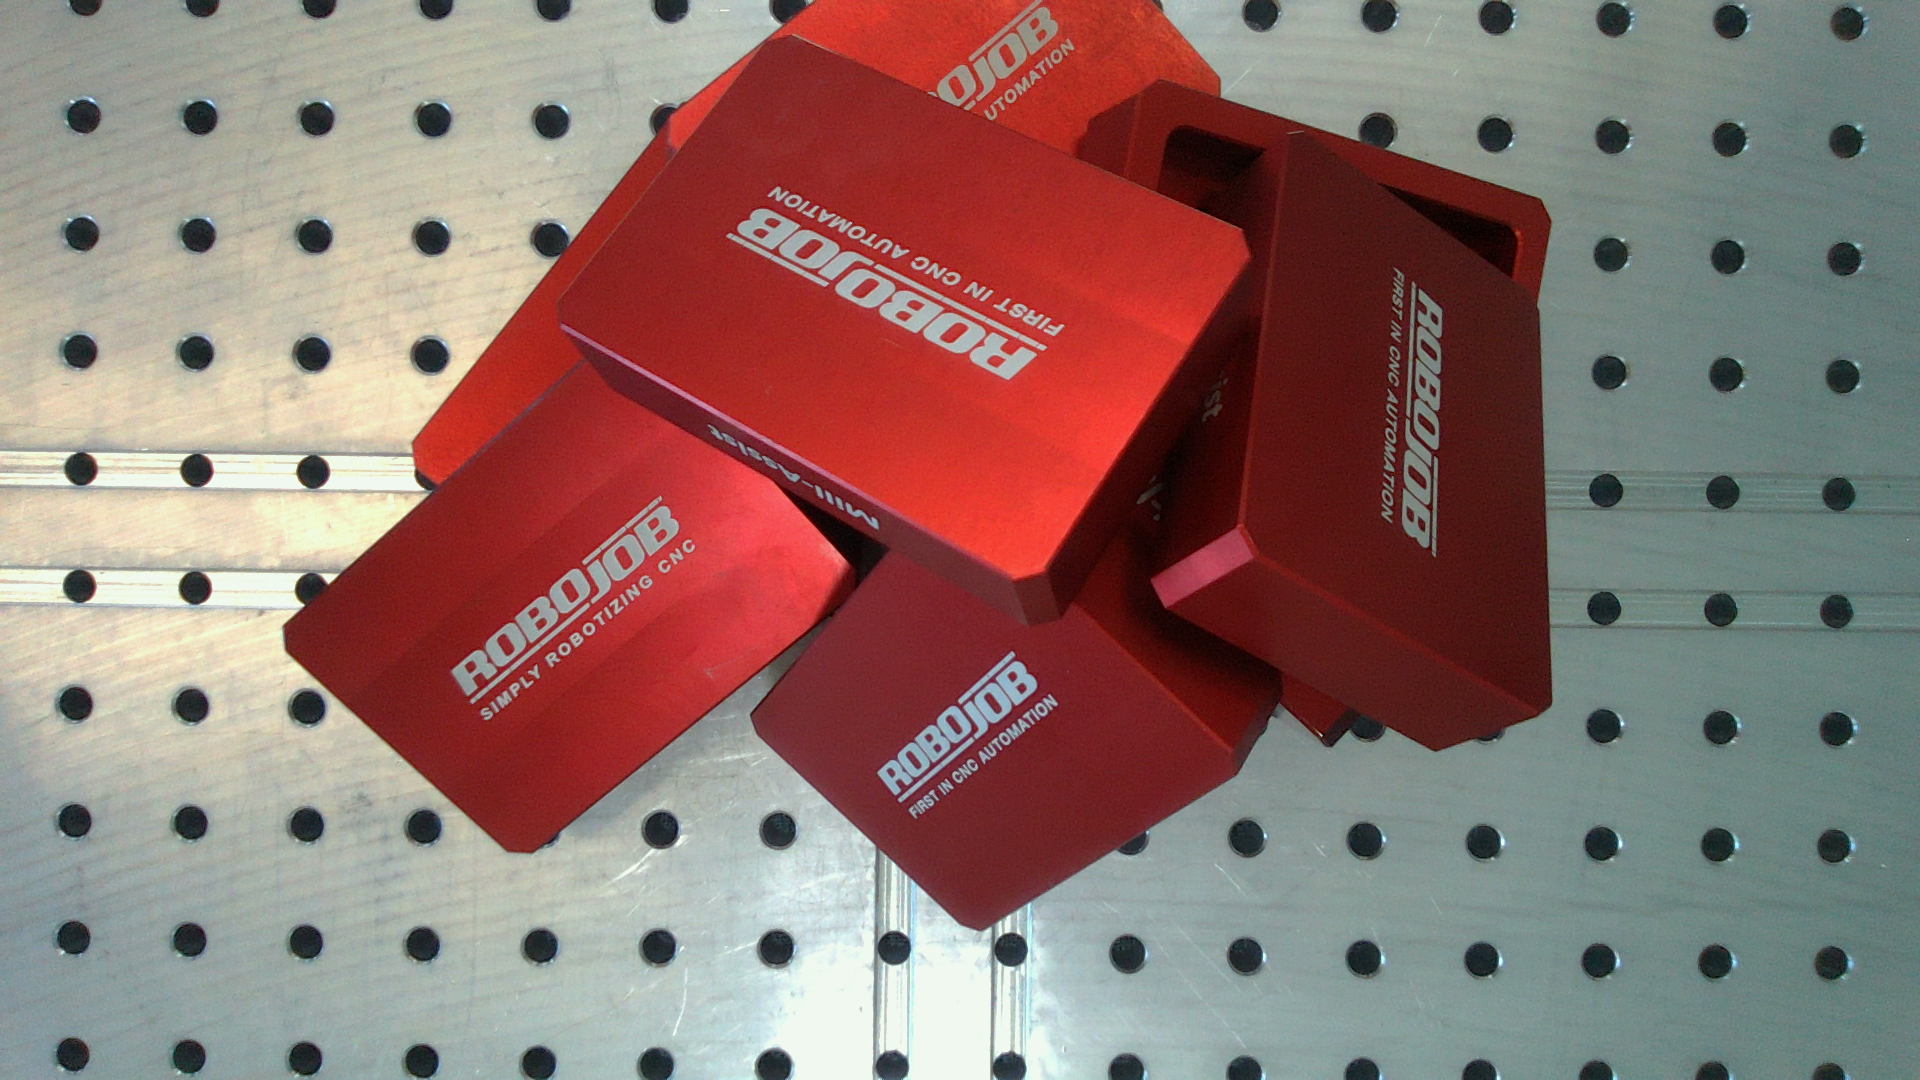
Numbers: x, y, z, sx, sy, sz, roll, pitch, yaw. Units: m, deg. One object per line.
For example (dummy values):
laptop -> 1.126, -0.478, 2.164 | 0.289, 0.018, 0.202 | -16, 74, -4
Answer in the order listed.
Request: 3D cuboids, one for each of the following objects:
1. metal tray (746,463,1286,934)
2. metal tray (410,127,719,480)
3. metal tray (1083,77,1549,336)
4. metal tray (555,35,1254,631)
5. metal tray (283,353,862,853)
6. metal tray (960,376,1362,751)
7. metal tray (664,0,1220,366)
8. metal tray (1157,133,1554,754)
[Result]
metal tray -> 0.008, 0.044, 0.351 | 0.090, 0.130, 0.030 | 43, 48, -1
metal tray -> -0.079, -0.046, 0.394 | 0.090, 0.030, 0.130 | 39, 90, 0
metal tray -> 0.092, -0.061, 0.373 | 0.130, 0.030, 0.090 | 10, 90, -20
metal tray -> -0.013, -0.050, 0.307 | 0.130, 0.030, 0.090 | 29, 76, 19
metal tray -> -0.102, 0.013, 0.372 | 0.130, 0.030, 0.090 | -39, 106, 11
metal tray -> 0.053, -0.006, 0.366 | 0.130, 0.090, 0.030 | 45, 91, 1
metal tray -> -0.004, -0.112, 0.376 | 0.130, 0.030, 0.090 | -44, 92, -14
metal tray -> 0.099, -0.026, 0.332 | 0.090, 0.030, 0.130 | 28, 54, -21
